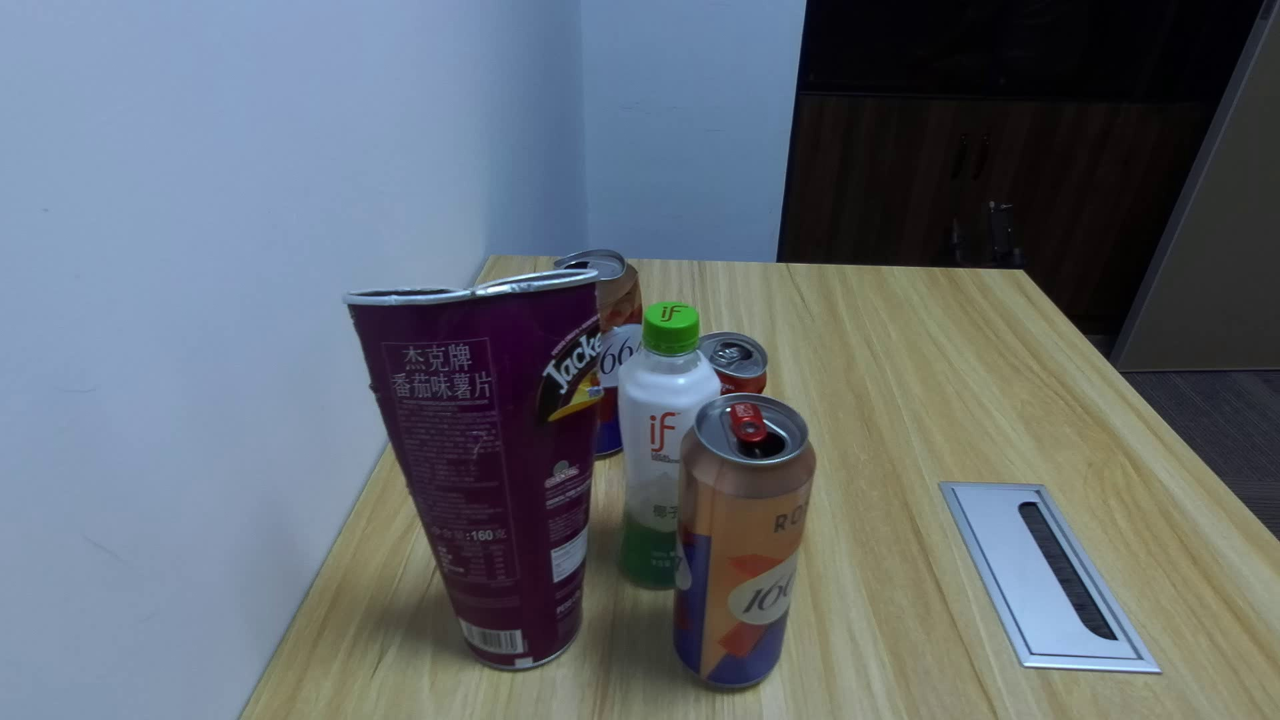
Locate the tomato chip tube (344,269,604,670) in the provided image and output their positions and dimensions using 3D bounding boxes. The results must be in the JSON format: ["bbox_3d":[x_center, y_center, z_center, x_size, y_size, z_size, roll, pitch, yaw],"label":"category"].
[{"bbox_3d":[-0.071,0.065,0.381,0.090,0.236,0.078,13,34,23],"label":"tomato chip tube"}]

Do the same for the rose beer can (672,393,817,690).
[{"bbox_3d":[0.053,0.103,0.383,0.068,0.169,0.068,1,32,0],"label":"rose beer can"}]

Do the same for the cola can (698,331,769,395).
[{"bbox_3d":[0.059,0.040,0.529,0.069,0.112,0.065,-4,32,-9],"label":"cola can"}]

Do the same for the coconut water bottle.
[{"bbox_3d":[0.017,0.053,0.444,0.063,0.189,0.063,0,35,0],"label":"coconut water bottle"}]
